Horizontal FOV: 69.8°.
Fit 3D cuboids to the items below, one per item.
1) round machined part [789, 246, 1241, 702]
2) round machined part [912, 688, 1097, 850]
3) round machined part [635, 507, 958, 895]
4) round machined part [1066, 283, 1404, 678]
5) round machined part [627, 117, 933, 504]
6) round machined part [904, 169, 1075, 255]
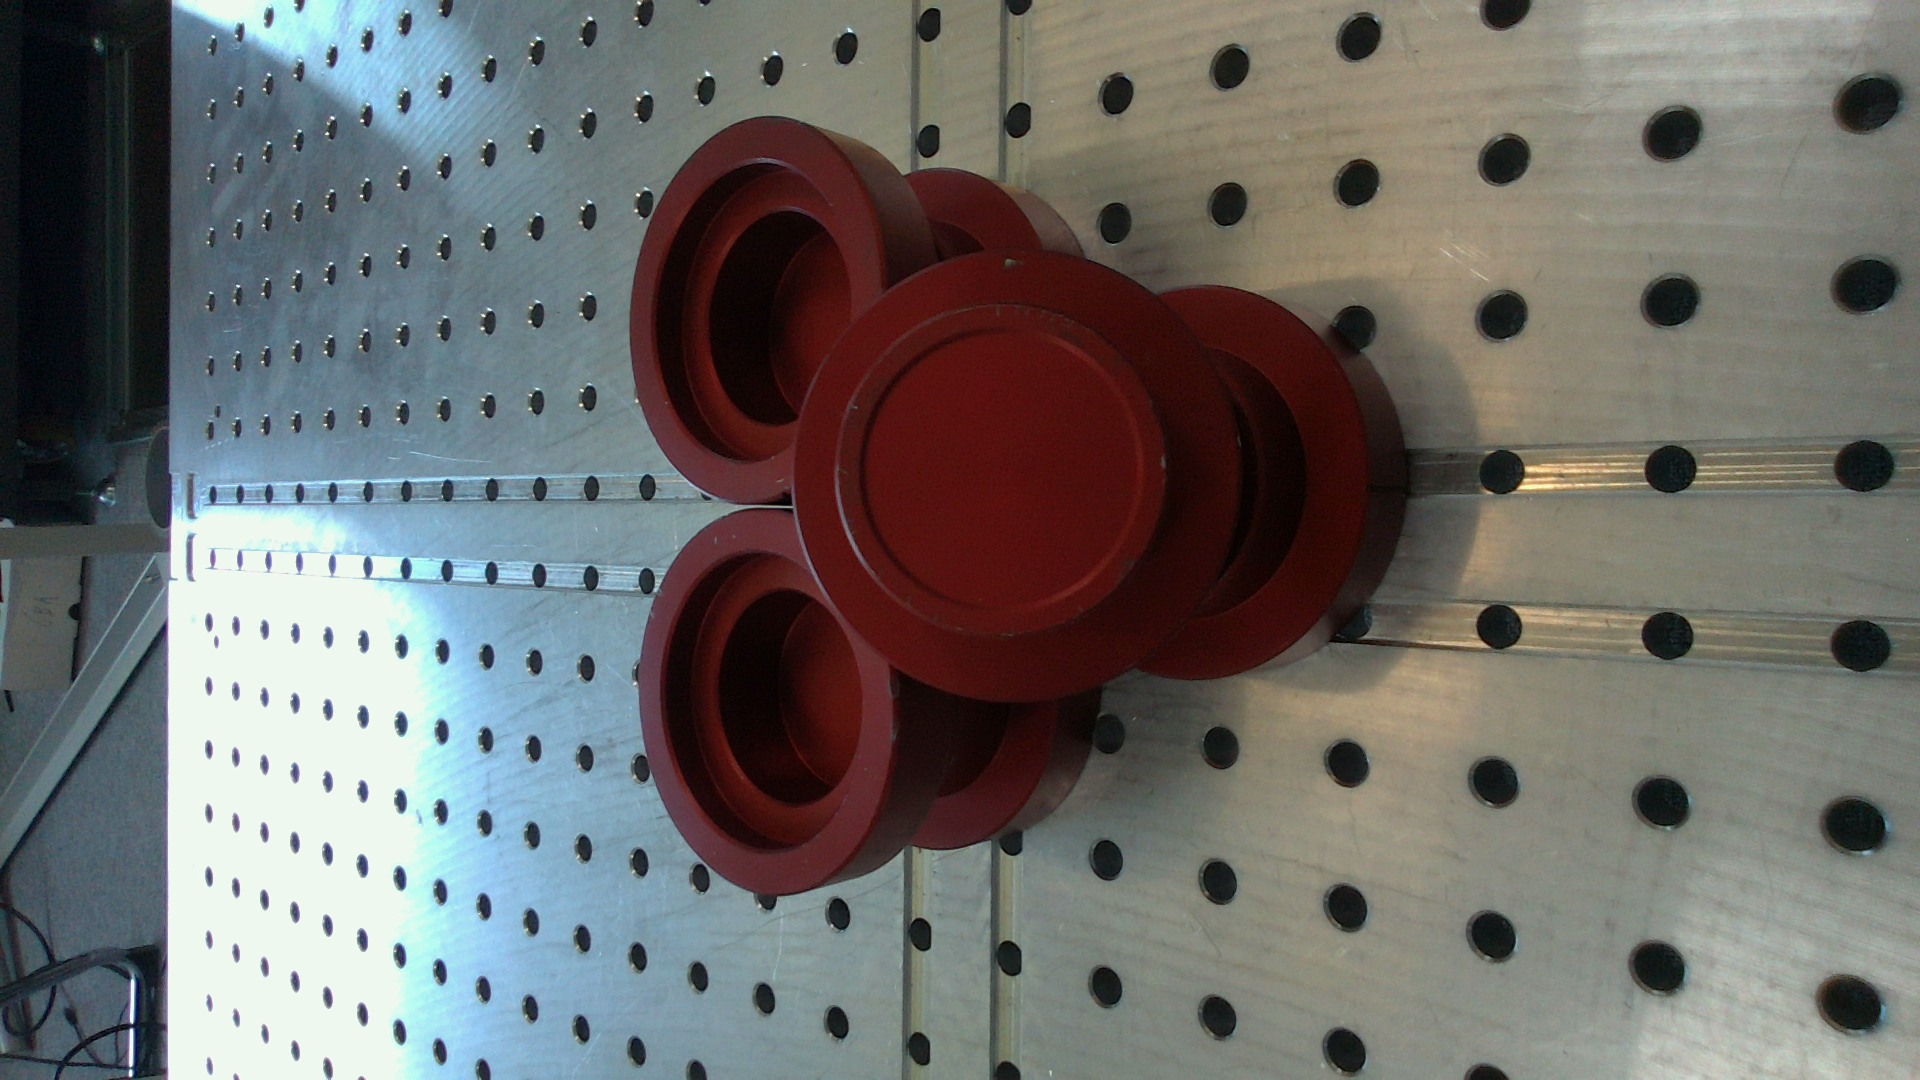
[{"bbox_3d":[0.011,-0.014,0.295,0.098,0.042,0.098,0,89,8],"label":"round machined part"},{"bbox_3d":[-0.012,0.040,0.398,0.098,0.042,0.098,0,90,40],"label":"round machined part"},{"bbox_3d":[-0.039,0.041,0.364,0.098,0.042,0.098,0,90,40],"label":"round machined part"},{"bbox_3d":[0.055,-0.015,0.341,0.098,0.042,0.098,0,90,40],"label":"round machined part"},{"bbox_3d":[-0.042,-0.058,0.366,0.098,0.042,0.098,0,90,40],"label":"round machined part"},{"bbox_3d":[-0.013,-0.058,0.399,0.098,0.042,0.098,0,90,40],"label":"round machined part"}]
